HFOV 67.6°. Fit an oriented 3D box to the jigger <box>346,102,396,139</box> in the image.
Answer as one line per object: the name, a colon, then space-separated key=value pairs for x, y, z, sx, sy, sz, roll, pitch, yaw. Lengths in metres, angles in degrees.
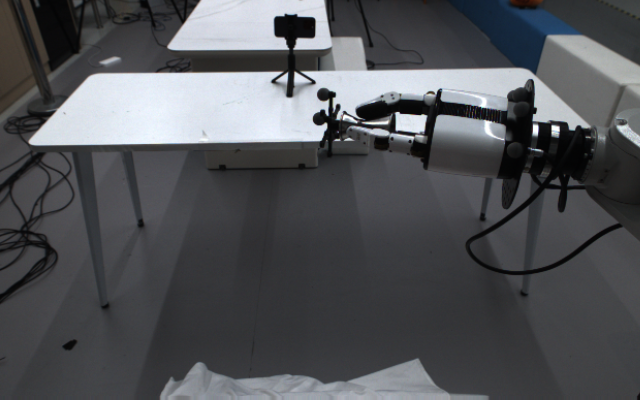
jigger: x=0.069 y=-0.099 z=0.641 sx=0.071 sy=0.043 sz=0.043 roll=6 pitch=34 yaw=16
